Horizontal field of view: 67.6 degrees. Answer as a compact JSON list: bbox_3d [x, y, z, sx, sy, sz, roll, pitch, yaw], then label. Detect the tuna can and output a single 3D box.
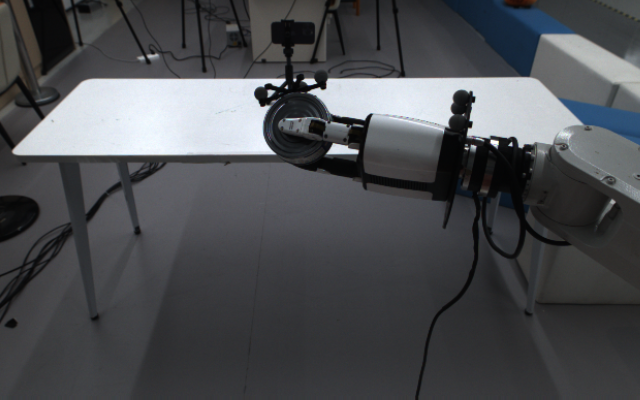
[{"bbox_3d":[-0.022,-0.082,0.596,0.085,0.085,0.034,12,-4,14],"label":"tuna can"}]
